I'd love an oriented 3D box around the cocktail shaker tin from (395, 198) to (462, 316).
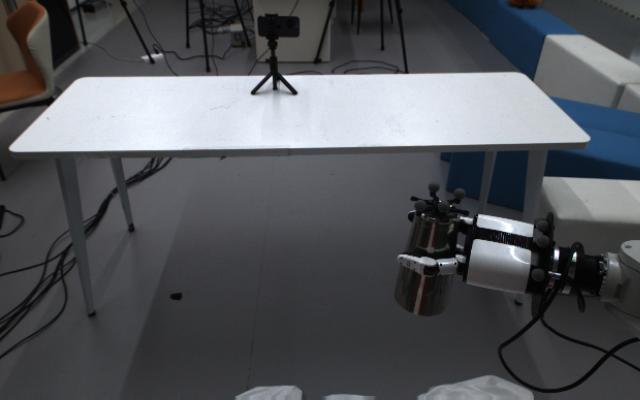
[{"bbox_3d":[0.176,0.088,0.771,0.093,0.170,0.093,2,30,-1],"label":"cocktail shaker tin"}]
